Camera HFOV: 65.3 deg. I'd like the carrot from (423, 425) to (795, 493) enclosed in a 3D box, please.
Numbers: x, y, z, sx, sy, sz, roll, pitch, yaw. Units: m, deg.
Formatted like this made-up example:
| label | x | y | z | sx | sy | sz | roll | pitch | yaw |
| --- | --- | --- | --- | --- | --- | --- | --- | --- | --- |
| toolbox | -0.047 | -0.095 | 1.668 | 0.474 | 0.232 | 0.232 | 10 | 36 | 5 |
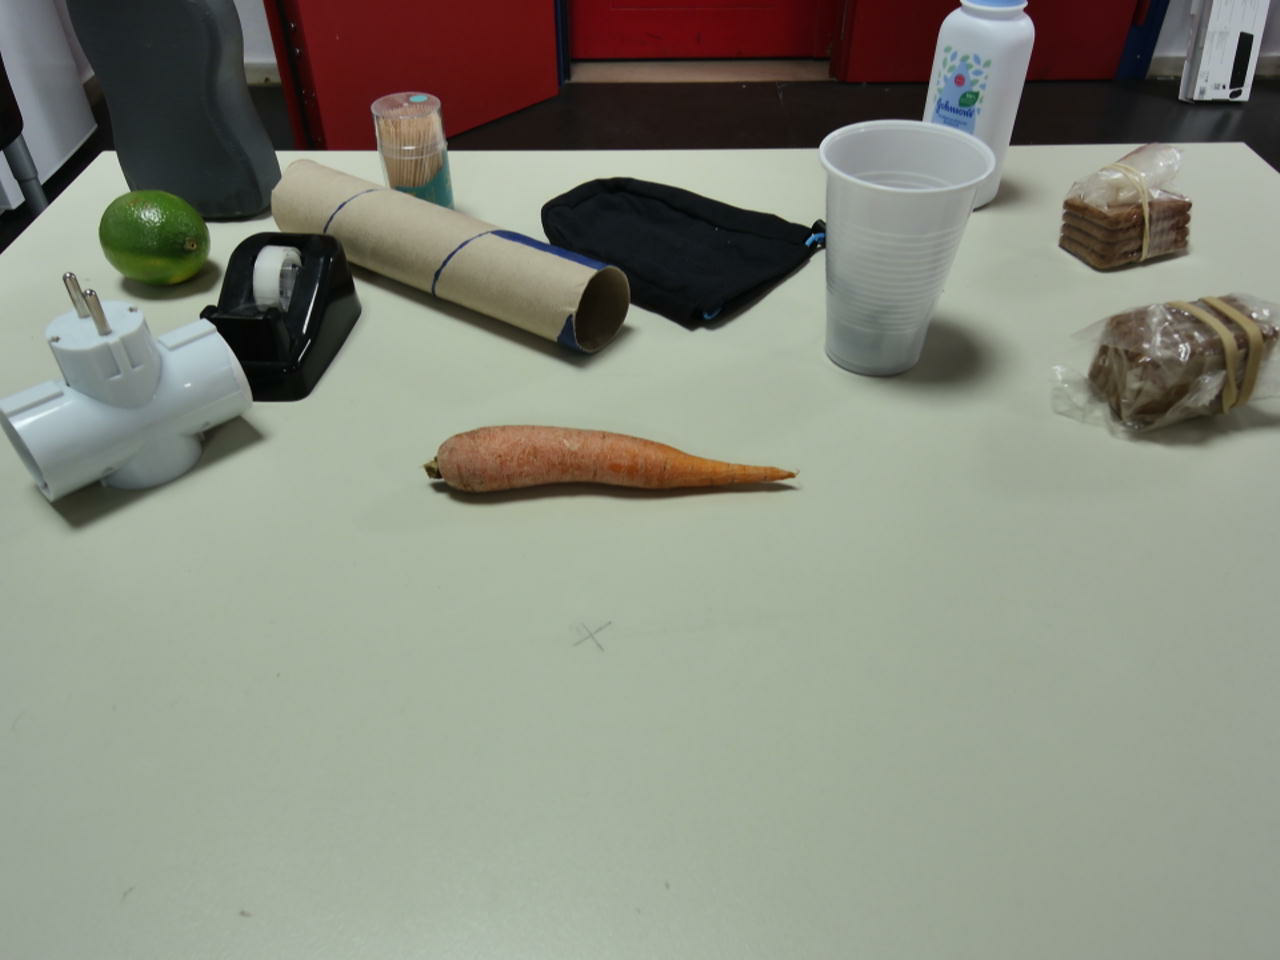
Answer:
| label | x | y | z | sx | sy | sz | roll | pitch | yaw |
| --- | --- | --- | --- | --- | --- | --- | --- | --- | --- |
| carrot | -0.012 | -0.009 | 0.444 | 0.163 | 0.029 | 0.031 | 0 | 38 | 0 |
